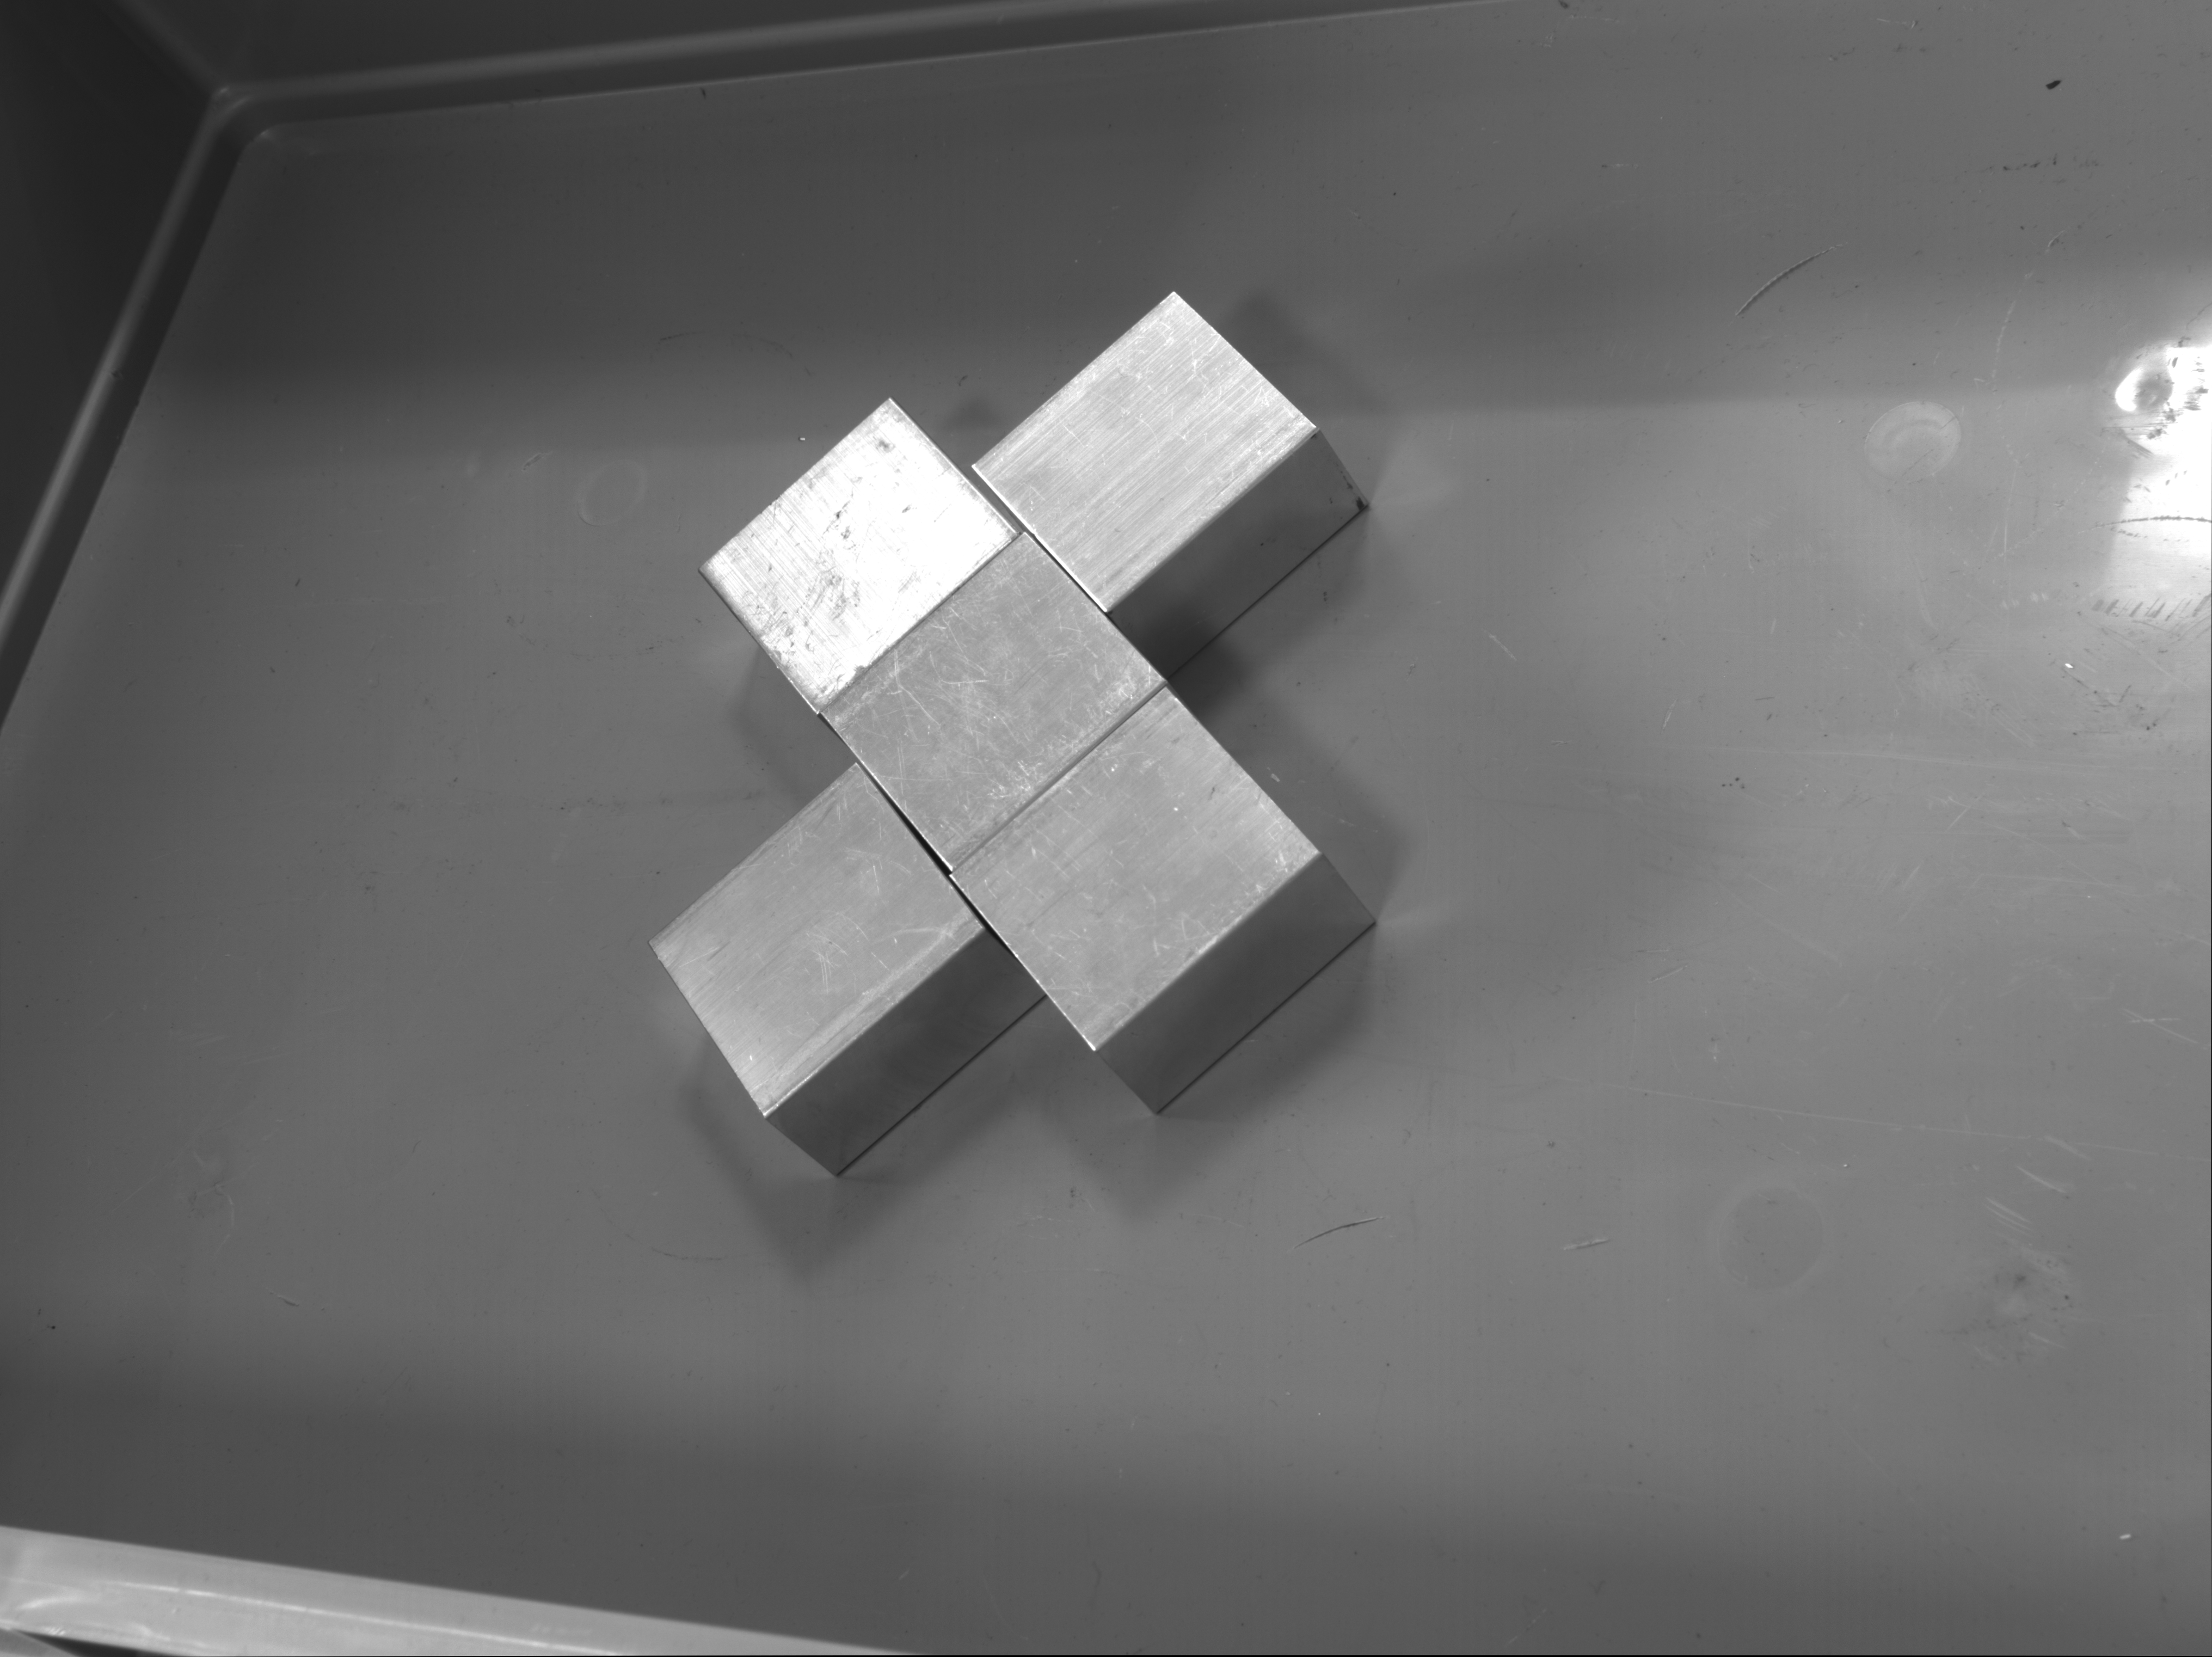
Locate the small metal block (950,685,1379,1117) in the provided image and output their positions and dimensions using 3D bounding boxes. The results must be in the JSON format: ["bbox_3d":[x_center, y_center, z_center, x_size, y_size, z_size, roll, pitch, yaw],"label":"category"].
[{"bbox_3d":[0.010,0.012,0.630,0.050,0.025,0.050,-41,51,0],"label":"small metal block"}]

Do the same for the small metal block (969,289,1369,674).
[{"bbox_3d":[0.011,-0.063,0.675,0.050,0.025,0.050,-40,51,-1],"label":"small metal block"}]

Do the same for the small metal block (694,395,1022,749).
[{"bbox_3d":[-0.042,-0.046,0.693,0.050,0.025,0.050,-41,51,0],"label":"small metal block"}]

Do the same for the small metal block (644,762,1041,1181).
[{"bbox_3d":[-0.046,0.025,0.653,0.050,0.025,0.050,-41,51,1],"label":"small metal block"}]

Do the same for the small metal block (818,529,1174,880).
[{"bbox_3d":[-0.016,-0.017,0.661,0.050,0.025,0.050,-41,51,0],"label":"small metal block"}]
